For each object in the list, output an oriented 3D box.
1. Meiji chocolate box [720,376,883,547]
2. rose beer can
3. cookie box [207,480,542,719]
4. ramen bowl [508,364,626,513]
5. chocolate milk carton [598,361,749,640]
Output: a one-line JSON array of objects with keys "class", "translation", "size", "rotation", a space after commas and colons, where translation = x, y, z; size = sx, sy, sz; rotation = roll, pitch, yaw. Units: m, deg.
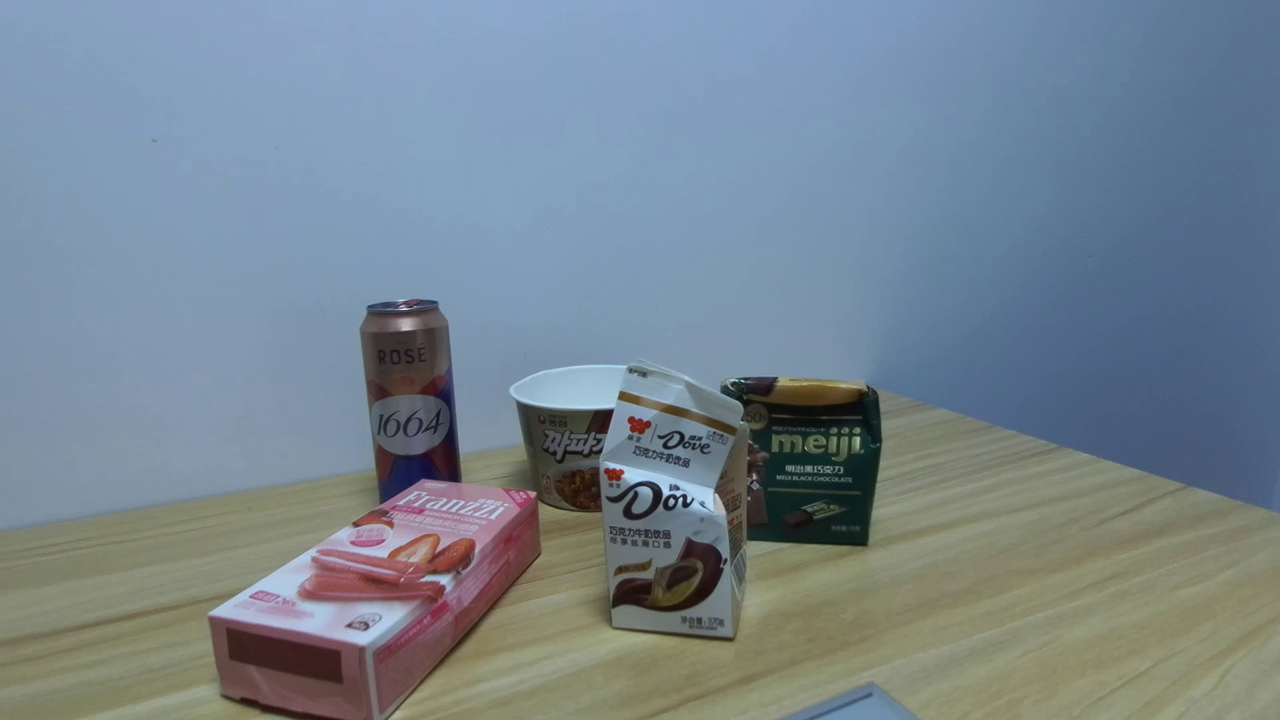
[{"class": "Meiji chocolate box", "translation": [0.115, 0.070, 0.520], "size": [0.117, 0.117, 0.052], "rotation": [1, 7, 9]}, {"class": "rose beer can", "translation": [-0.182, 0.040, 0.569], "size": [0.068, 0.169, 0.068], "rotation": [0, 13, 0]}, {"class": "cookie box", "translation": [-0.139, 0.132, 0.423], "size": [0.105, 0.049, 0.188], "rotation": [3, 13, 18]}, {"class": "ramen bowl", "translation": [-0.036, 0.066, 0.620], "size": [0.140, 0.095, 0.140], "rotation": [-2, 14, 1]}, {"class": "chocolate milk carton", "translation": [0.023, 0.074, 0.413], "size": [0.076, 0.155, 0.074], "rotation": [2, 16, 13]}]
